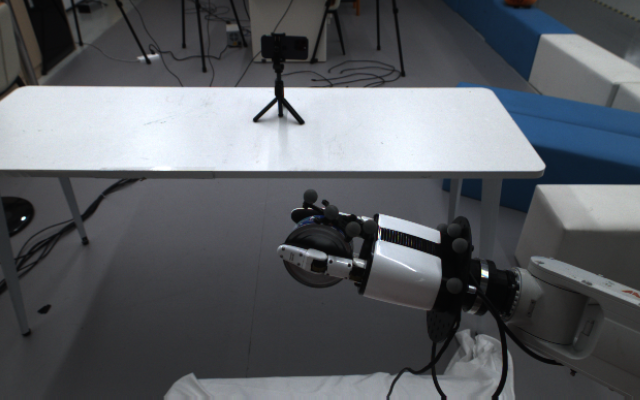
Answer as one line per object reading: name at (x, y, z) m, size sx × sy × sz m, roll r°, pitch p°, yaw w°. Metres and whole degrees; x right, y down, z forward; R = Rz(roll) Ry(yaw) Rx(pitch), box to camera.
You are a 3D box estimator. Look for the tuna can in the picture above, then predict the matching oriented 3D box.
tuna can at (0.002, 0.062, 0.596) m, size 0.085 × 0.085 × 0.034 m, roll 7°, pitch 16°, yaw 7°
